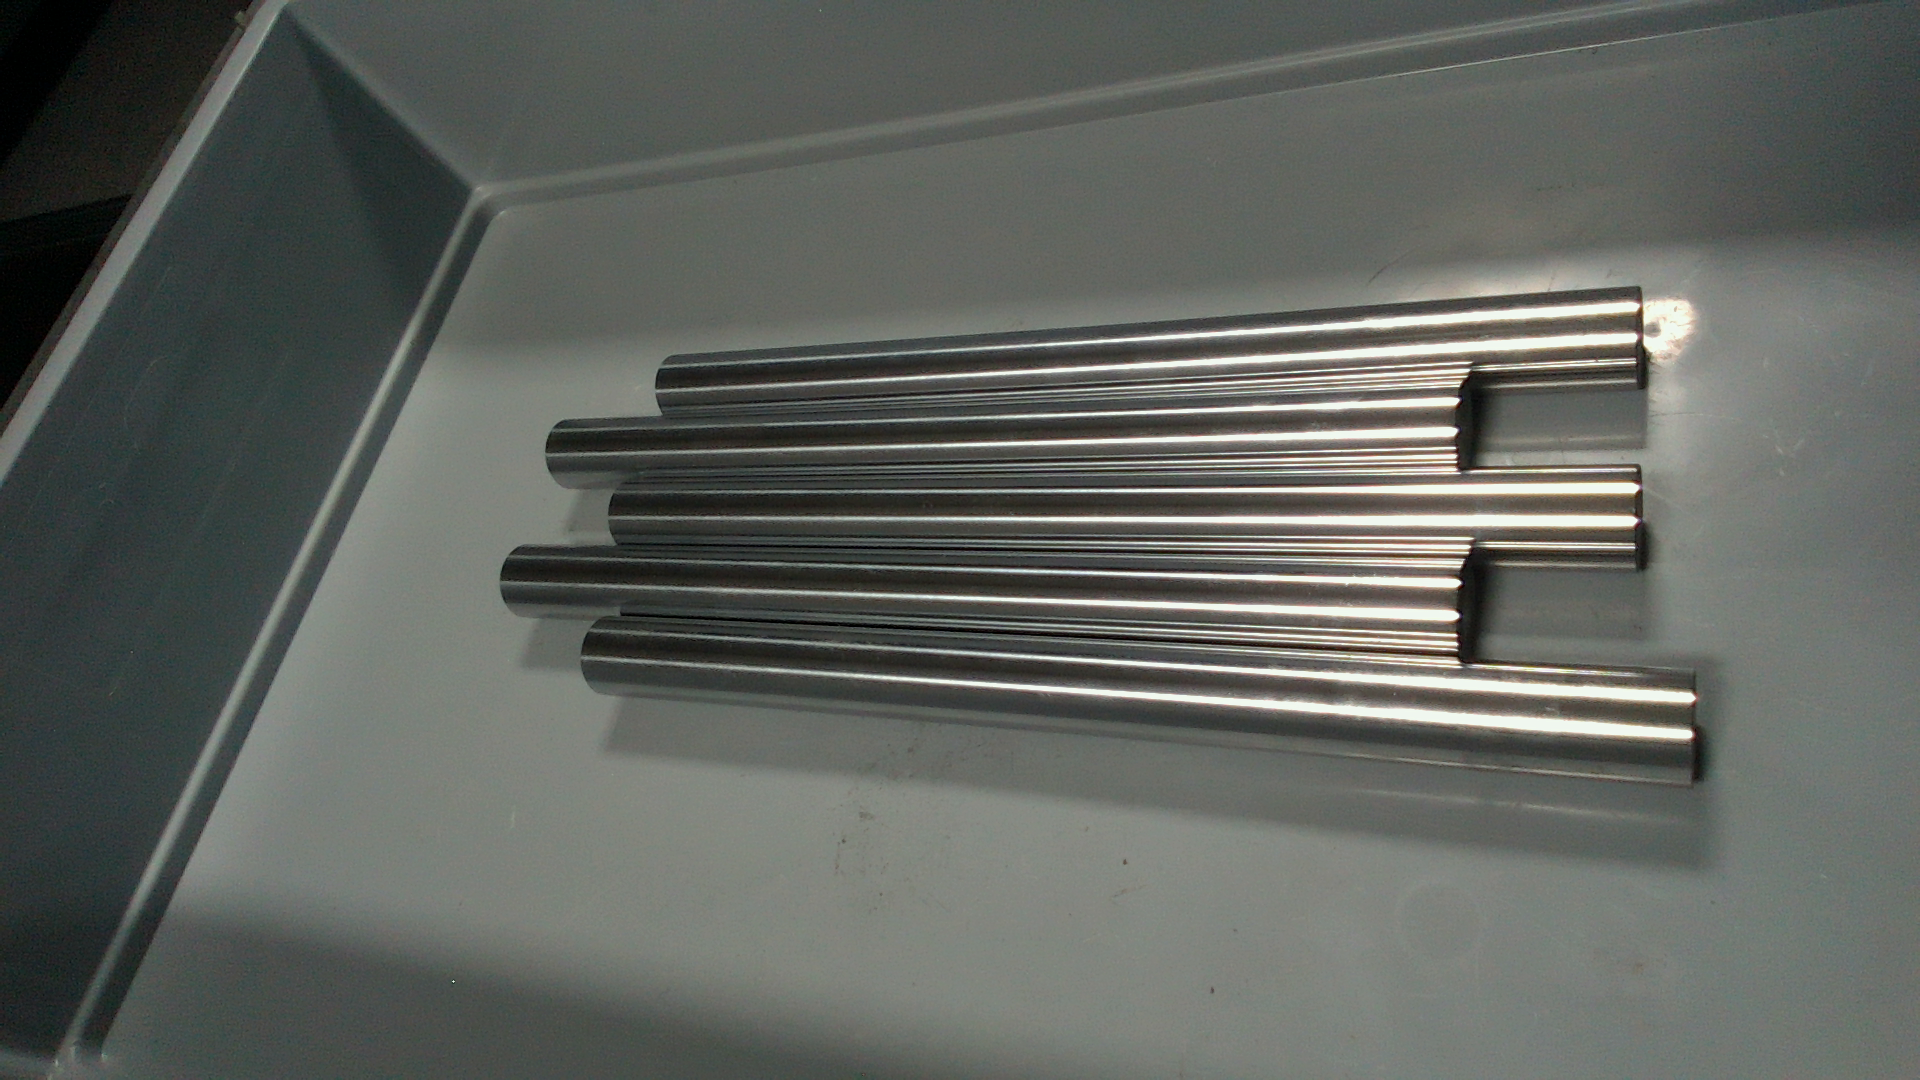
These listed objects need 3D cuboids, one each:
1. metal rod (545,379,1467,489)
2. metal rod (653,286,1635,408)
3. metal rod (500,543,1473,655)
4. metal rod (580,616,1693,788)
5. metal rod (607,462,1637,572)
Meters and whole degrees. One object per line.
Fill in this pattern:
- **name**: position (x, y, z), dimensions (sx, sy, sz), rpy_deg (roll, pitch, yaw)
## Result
- **metal rod**: position (-0.006, -0.029, 0.414), dimensions (0.299, 0.025, 0.025), rpy_deg (1, 62, 29)
- **metal rod**: position (0.033, -0.050, 0.406), dimensions (0.299, 0.025, 0.025), rpy_deg (1, 62, 29)
- **metal rod**: position (-0.014, 0.015, 0.391), dimensions (0.299, 0.025, 0.025), rpy_deg (1, 62, 29)
- **metal rod**: position (0.021, 0.038, 0.358), dimensions (0.299, 0.025, 0.025), rpy_deg (1, 62, 29)
- **metal rod**: position (0.023, -0.007, 0.384), dimensions (0.299, 0.025, 0.025), rpy_deg (1, 62, 29)
